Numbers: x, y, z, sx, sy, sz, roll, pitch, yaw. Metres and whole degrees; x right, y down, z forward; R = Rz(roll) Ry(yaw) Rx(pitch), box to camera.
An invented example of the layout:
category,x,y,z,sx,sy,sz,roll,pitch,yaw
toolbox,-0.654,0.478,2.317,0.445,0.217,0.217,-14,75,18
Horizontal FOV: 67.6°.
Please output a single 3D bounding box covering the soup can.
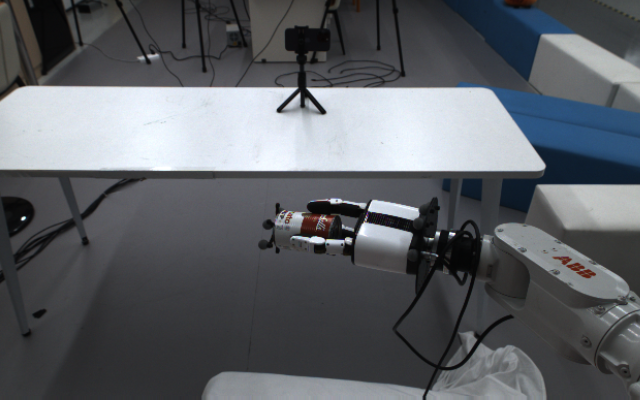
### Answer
category,x,y,z,sx,sy,sz,roll,pitch,yaw
soup can,-0.019,0.056,0.815,0.101,0.067,0.067,5,34,18
